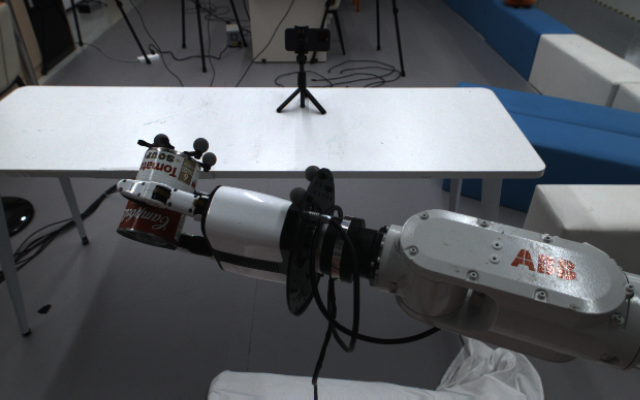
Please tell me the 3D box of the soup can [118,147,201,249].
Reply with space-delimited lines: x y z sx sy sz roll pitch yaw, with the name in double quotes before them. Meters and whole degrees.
"soup can" -0.183 0.000 0.561 0.067 0.067 0.101 9 71 10
